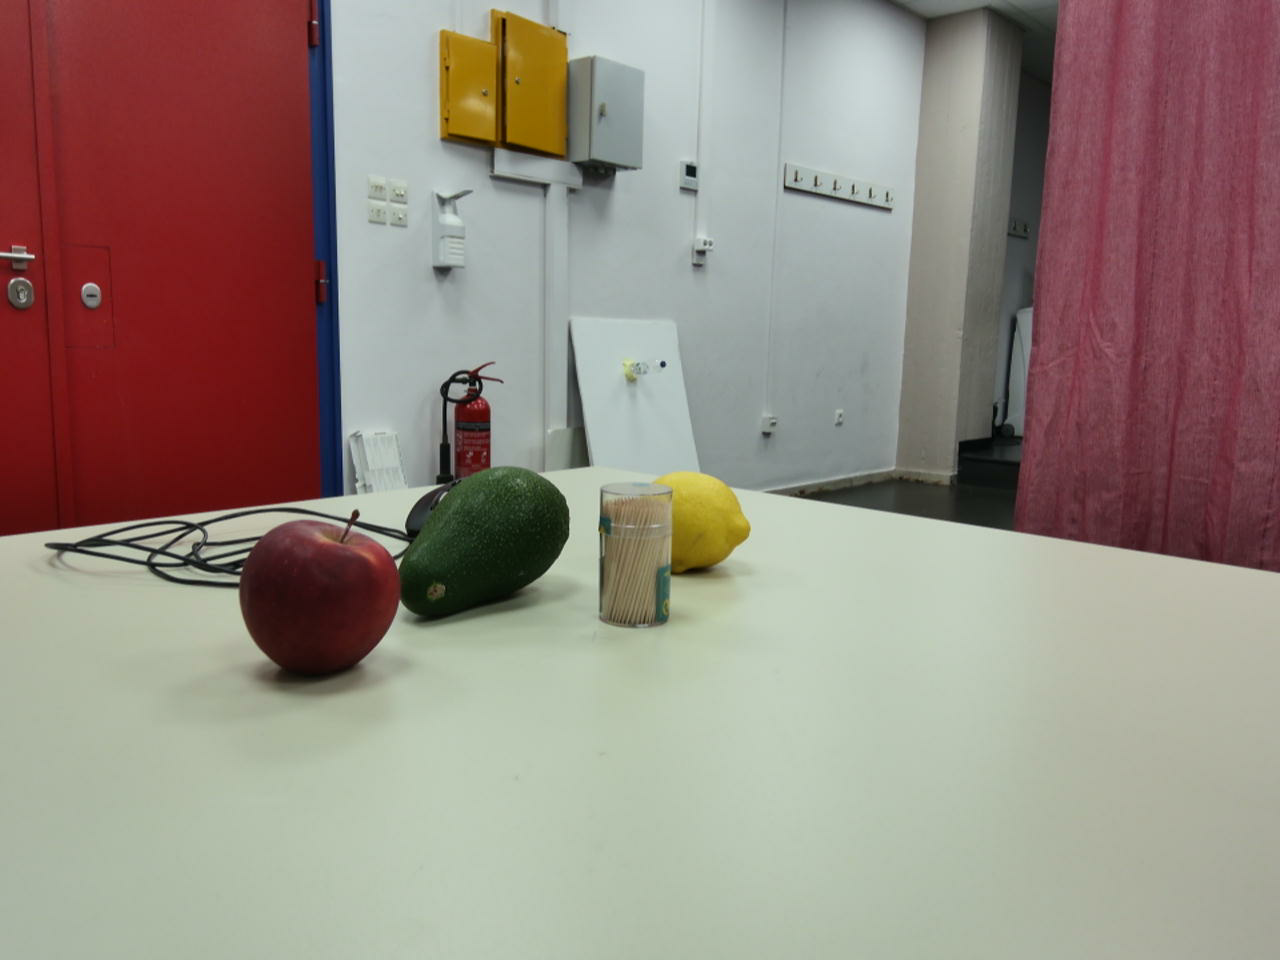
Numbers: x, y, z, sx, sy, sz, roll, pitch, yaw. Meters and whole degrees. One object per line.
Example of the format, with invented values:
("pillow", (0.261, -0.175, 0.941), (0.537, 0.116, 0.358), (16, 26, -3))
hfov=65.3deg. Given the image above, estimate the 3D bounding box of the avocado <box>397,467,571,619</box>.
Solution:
("avocado", (-0.094, 0.031, 0.583), (0.123, 0.076, 0.074), (-5, 9, -41))
